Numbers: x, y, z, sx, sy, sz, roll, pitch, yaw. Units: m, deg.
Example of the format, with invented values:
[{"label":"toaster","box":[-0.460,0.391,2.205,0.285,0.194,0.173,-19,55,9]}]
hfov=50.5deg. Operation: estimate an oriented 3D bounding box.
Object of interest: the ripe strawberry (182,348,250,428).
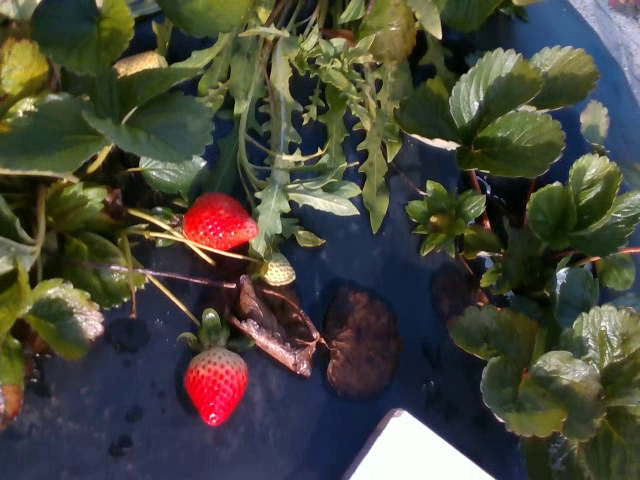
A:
[{"label":"ripe strawberry","box":[-0.052,0.075,0.333,0.035,0.043,0.030,0,-22,-9]}]

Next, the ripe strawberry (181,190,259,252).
[{"label":"ripe strawberry","box":[-0.054,-0.012,0.359,0.048,0.040,0.031,5,-26,38]}]
